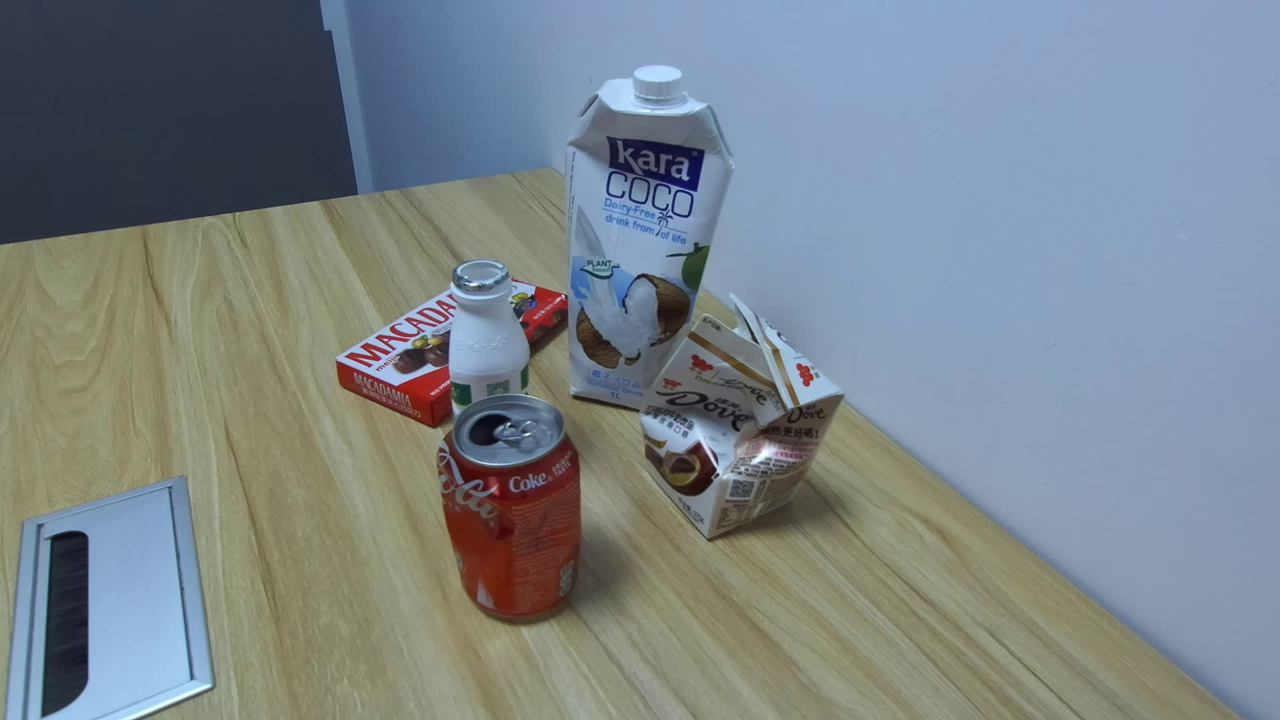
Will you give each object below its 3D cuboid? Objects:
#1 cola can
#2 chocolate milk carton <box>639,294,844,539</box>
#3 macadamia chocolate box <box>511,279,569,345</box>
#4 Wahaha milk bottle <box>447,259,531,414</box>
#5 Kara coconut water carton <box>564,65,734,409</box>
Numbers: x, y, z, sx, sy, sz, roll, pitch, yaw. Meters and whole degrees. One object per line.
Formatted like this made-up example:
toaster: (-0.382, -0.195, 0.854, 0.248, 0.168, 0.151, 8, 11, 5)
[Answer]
cola can: (-0.064, 0.077, 0.370, 0.067, 0.117, 0.065, -21, 42, -31)
chocolate milk carton: (0.058, 0.033, 0.420, 0.077, 0.155, 0.089, -23, 58, -26)
macadamia chocolate box: (-0.143, -0.019, 0.576, 0.105, 0.028, 0.183, 20, 38, 19)
Wahaha milk bottle: (-0.095, 0.007, 0.435, 0.056, 0.148, 0.056, 4, 42, -3)
Kara coconut water carton: (-0.002, -0.078, 0.486, 0.115, 0.238, 0.069, 13, 35, 8)
